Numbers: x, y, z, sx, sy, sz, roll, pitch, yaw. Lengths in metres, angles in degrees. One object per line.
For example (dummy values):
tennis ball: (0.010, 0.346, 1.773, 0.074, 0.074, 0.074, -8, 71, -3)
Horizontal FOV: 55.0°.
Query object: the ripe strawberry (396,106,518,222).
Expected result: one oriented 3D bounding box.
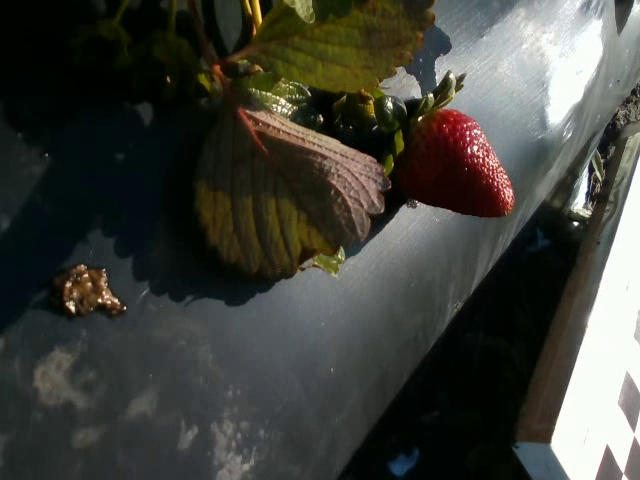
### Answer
ripe strawberry: (0.052, -0.026, 0.229, 0.045, 0.055, 0.042, -44, -9, -45)
